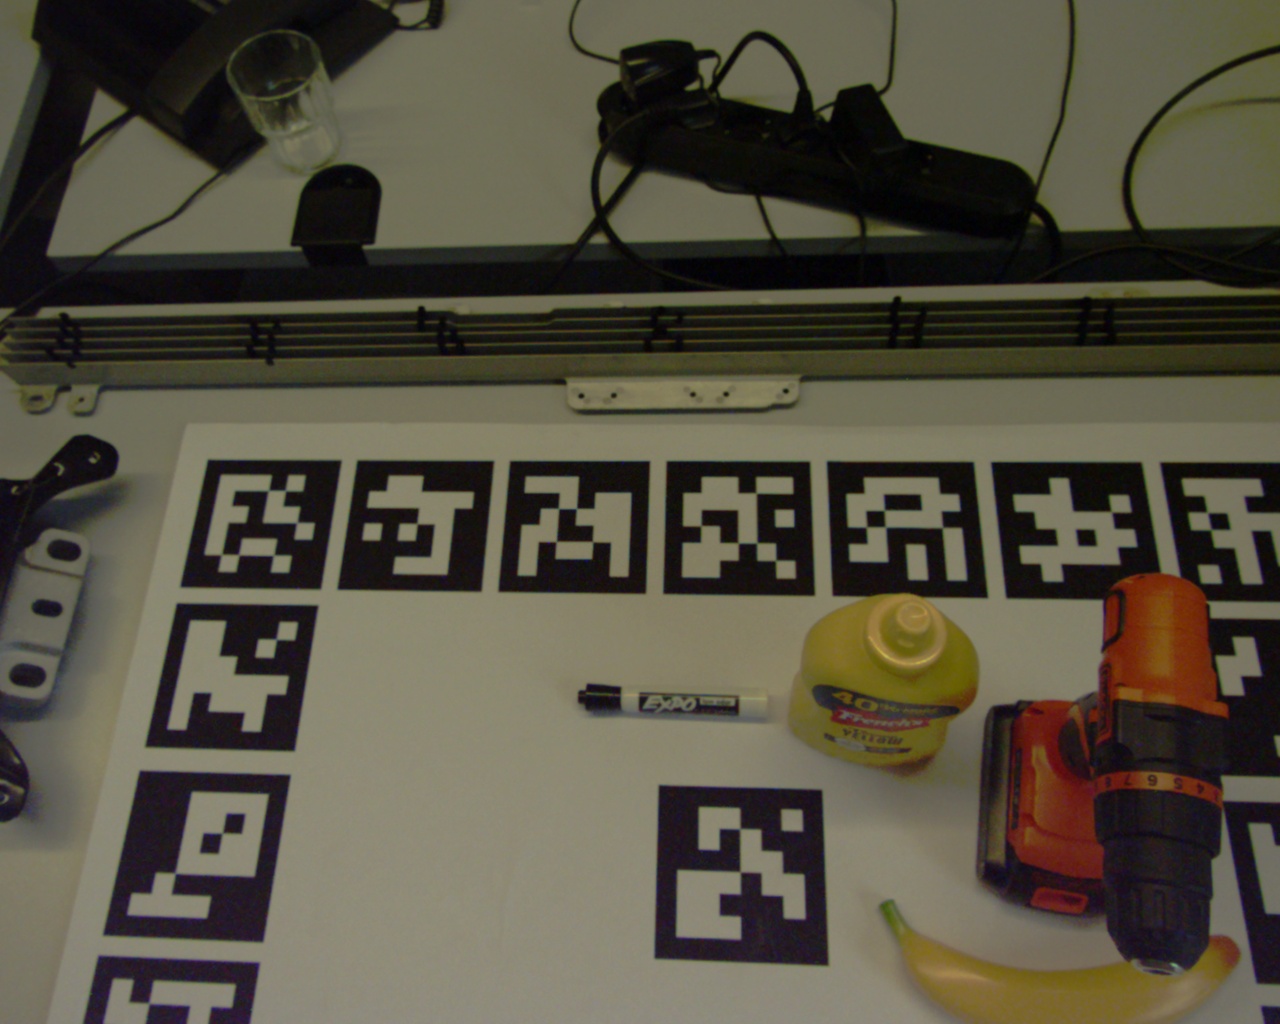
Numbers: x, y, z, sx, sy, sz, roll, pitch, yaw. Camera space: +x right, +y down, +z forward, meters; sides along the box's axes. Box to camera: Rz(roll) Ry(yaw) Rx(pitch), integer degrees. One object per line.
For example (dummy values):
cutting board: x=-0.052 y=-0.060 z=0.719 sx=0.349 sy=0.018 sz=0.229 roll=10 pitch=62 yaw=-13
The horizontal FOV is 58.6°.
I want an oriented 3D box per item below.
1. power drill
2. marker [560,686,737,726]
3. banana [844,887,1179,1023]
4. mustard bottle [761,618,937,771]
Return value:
power drill: x=0.228 y=0.162 z=0.633 sx=0.057 sy=0.186 sz=0.184 roll=14 pitch=65 yaw=8
marker: x=0.005 y=0.132 z=0.778 sx=0.121 sy=0.019 sz=0.020 roll=3 pitch=67 yaw=6
banana: x=0.219 y=0.281 z=0.684 sx=0.198 sy=0.038 sz=0.074 roll=8 pitch=68 yaw=10
mustard bottle: x=0.126 y=0.108 z=0.684 sx=0.096 sy=0.191 sz=0.058 roll=12 pitch=67 yaw=8
